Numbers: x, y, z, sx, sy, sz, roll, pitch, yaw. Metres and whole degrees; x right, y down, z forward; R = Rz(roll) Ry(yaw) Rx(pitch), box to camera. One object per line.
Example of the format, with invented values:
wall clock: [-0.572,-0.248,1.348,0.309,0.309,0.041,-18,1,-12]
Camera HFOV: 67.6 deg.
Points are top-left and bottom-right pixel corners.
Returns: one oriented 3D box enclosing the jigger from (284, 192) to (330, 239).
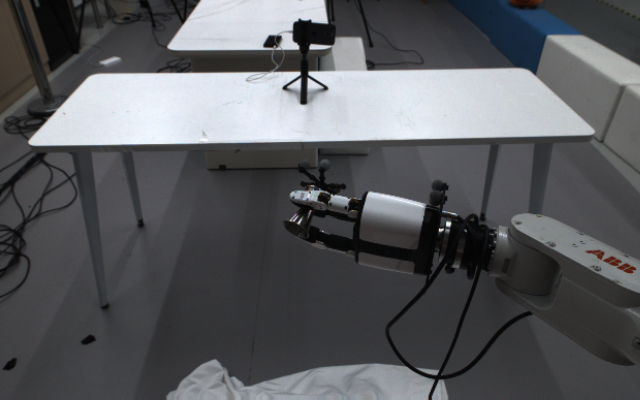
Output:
jigger: [-0.021,0.012,0.709,0.043,0.043,0.071,19,61,23]
